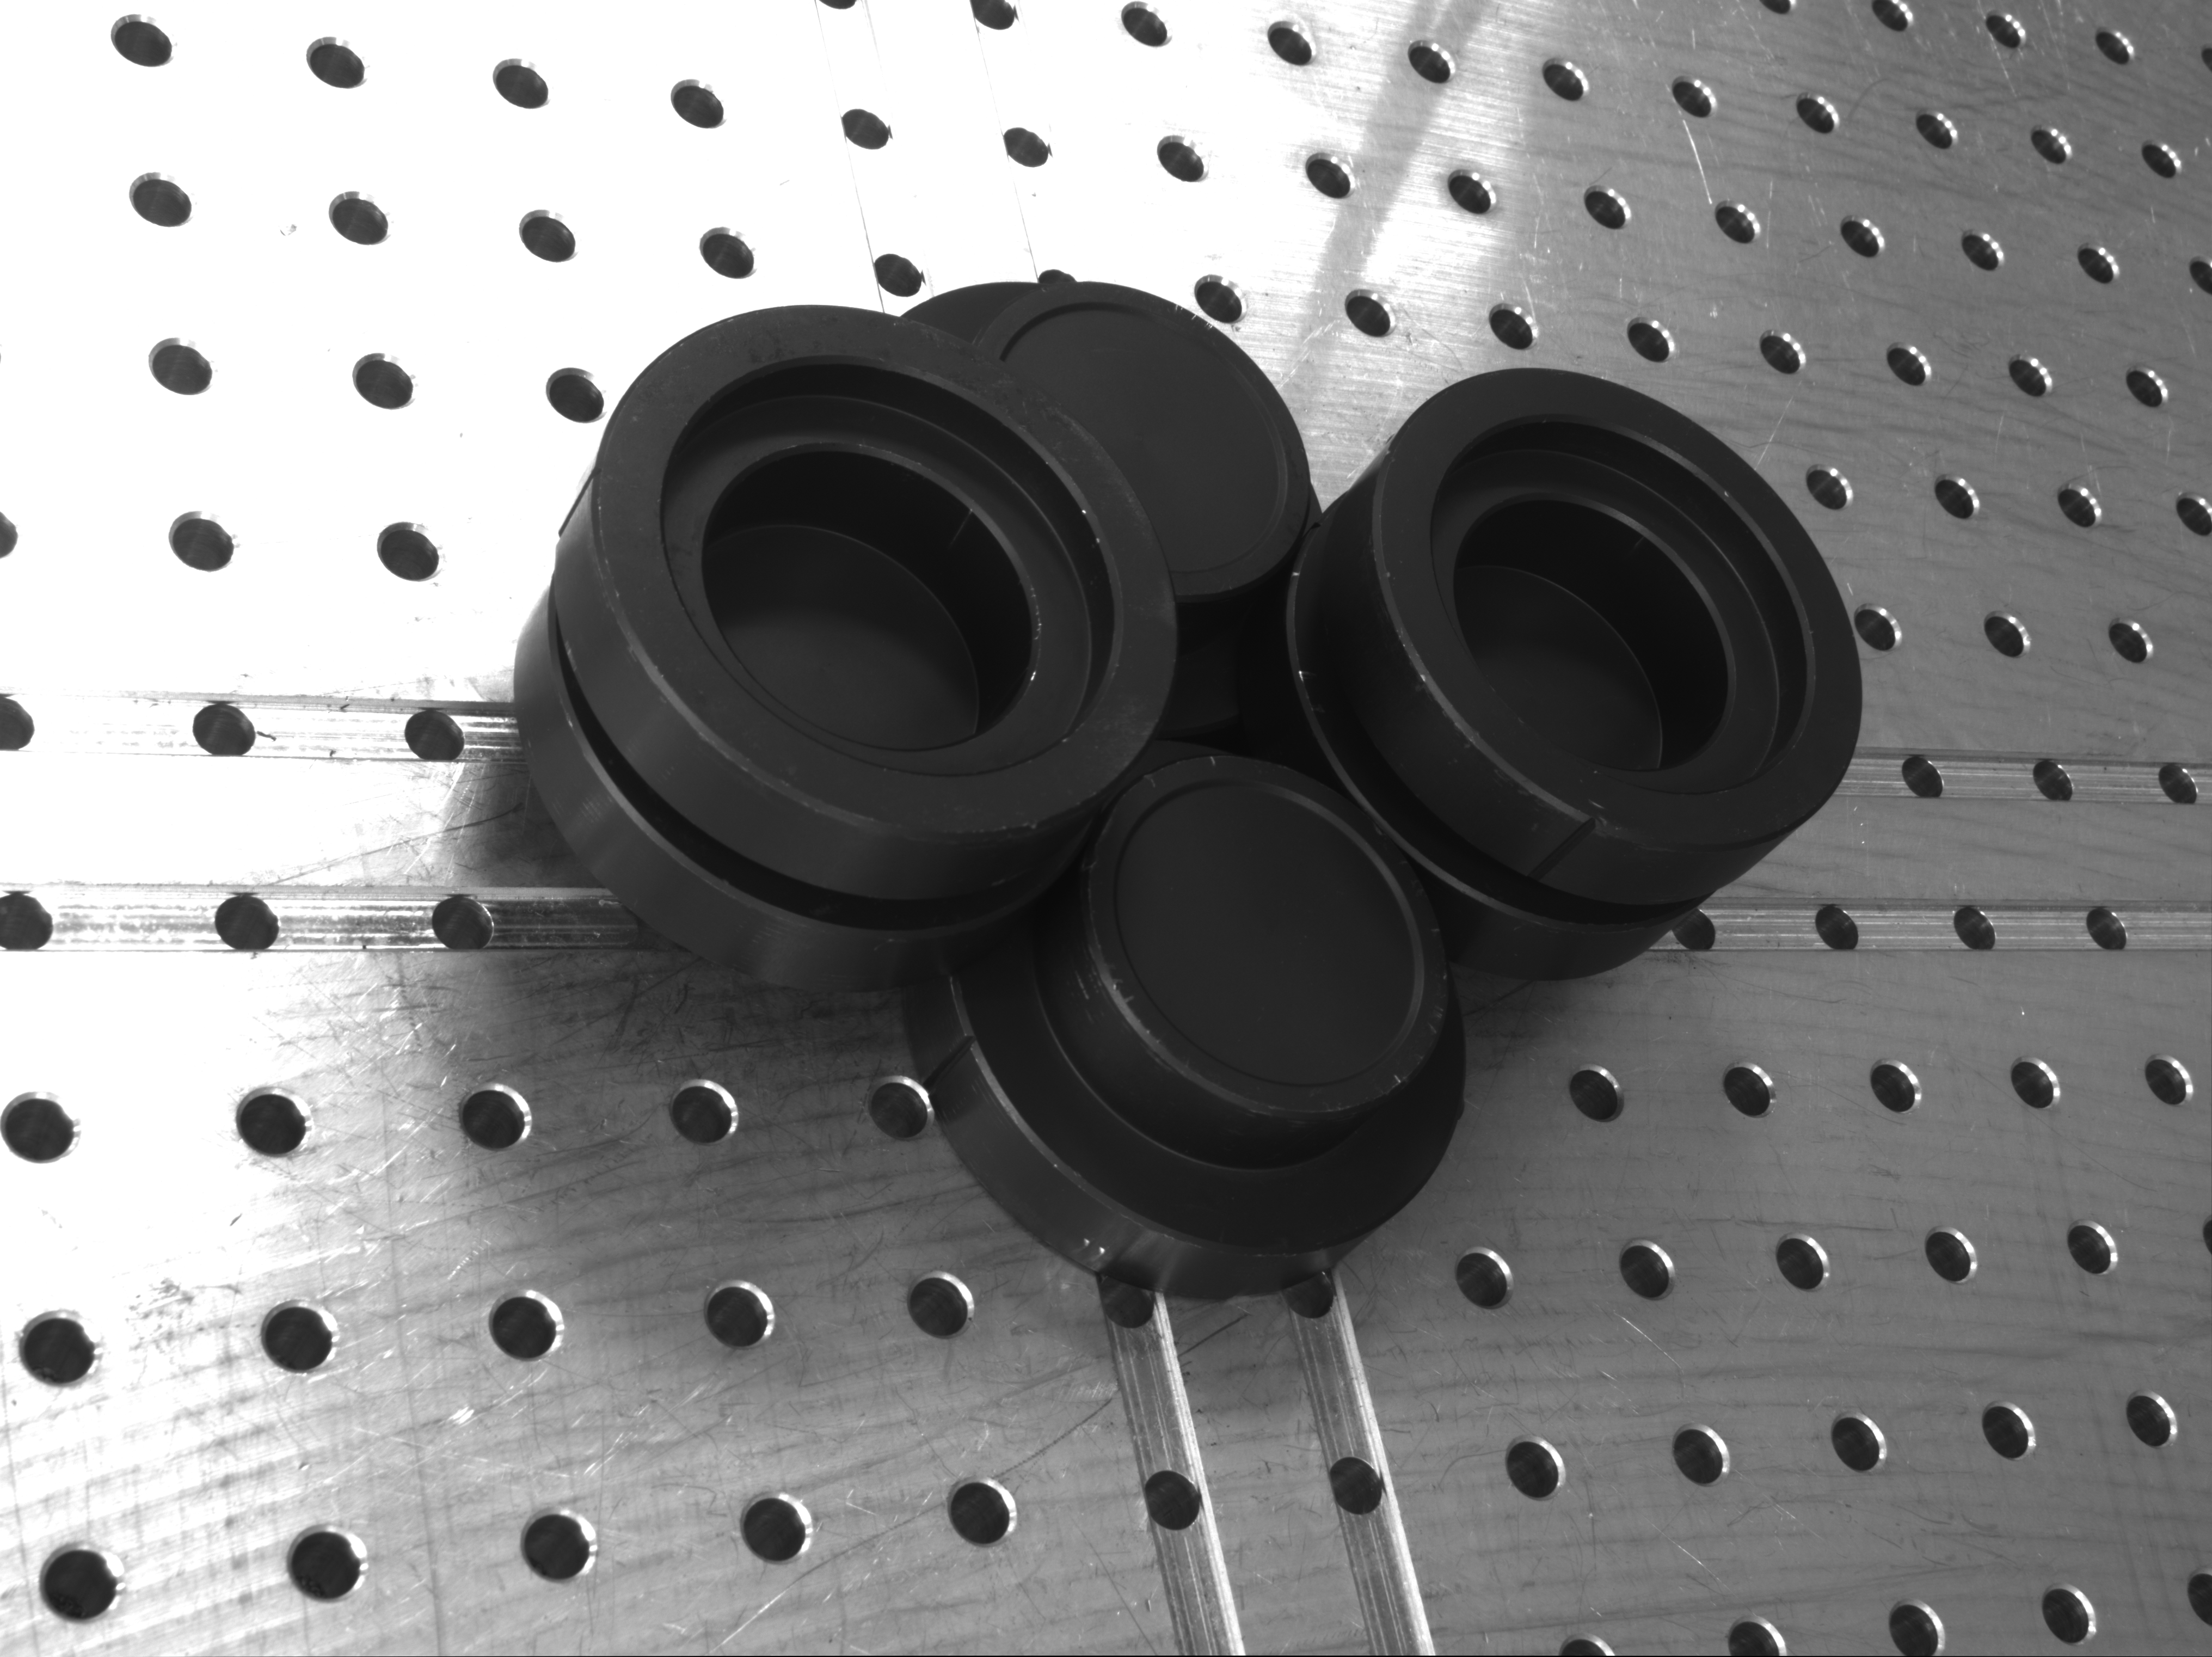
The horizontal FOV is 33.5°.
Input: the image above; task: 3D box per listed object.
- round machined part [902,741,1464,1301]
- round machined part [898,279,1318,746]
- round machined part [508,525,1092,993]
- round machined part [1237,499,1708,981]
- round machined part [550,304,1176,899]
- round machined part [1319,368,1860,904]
[{"bbox_3d":[0.018,0.027,0.624,0.098,0.042,0.098,13,56,-21],"label":"round machined part"},{"bbox_3d":[-0.003,-0.060,0.666,0.098,0.042,0.098,13,56,-21],"label":"round machined part"},{"bbox_3d":[-0.052,-0.016,0.613,0.098,0.042,0.098,13,56,-21],"label":"round machined part"},{"bbox_3d":[0.068,-0.015,0.676,0.098,0.042,0.098,13,56,-21],"label":"round machined part"},{"bbox_3d":[-0.042,-0.032,0.587,0.098,0.042,0.098,13,56,-21],"label":"round machined part"},{"bbox_3d":[0.081,-0.030,0.651,0.098,0.042,0.098,13,56,-21],"label":"round machined part"}]
